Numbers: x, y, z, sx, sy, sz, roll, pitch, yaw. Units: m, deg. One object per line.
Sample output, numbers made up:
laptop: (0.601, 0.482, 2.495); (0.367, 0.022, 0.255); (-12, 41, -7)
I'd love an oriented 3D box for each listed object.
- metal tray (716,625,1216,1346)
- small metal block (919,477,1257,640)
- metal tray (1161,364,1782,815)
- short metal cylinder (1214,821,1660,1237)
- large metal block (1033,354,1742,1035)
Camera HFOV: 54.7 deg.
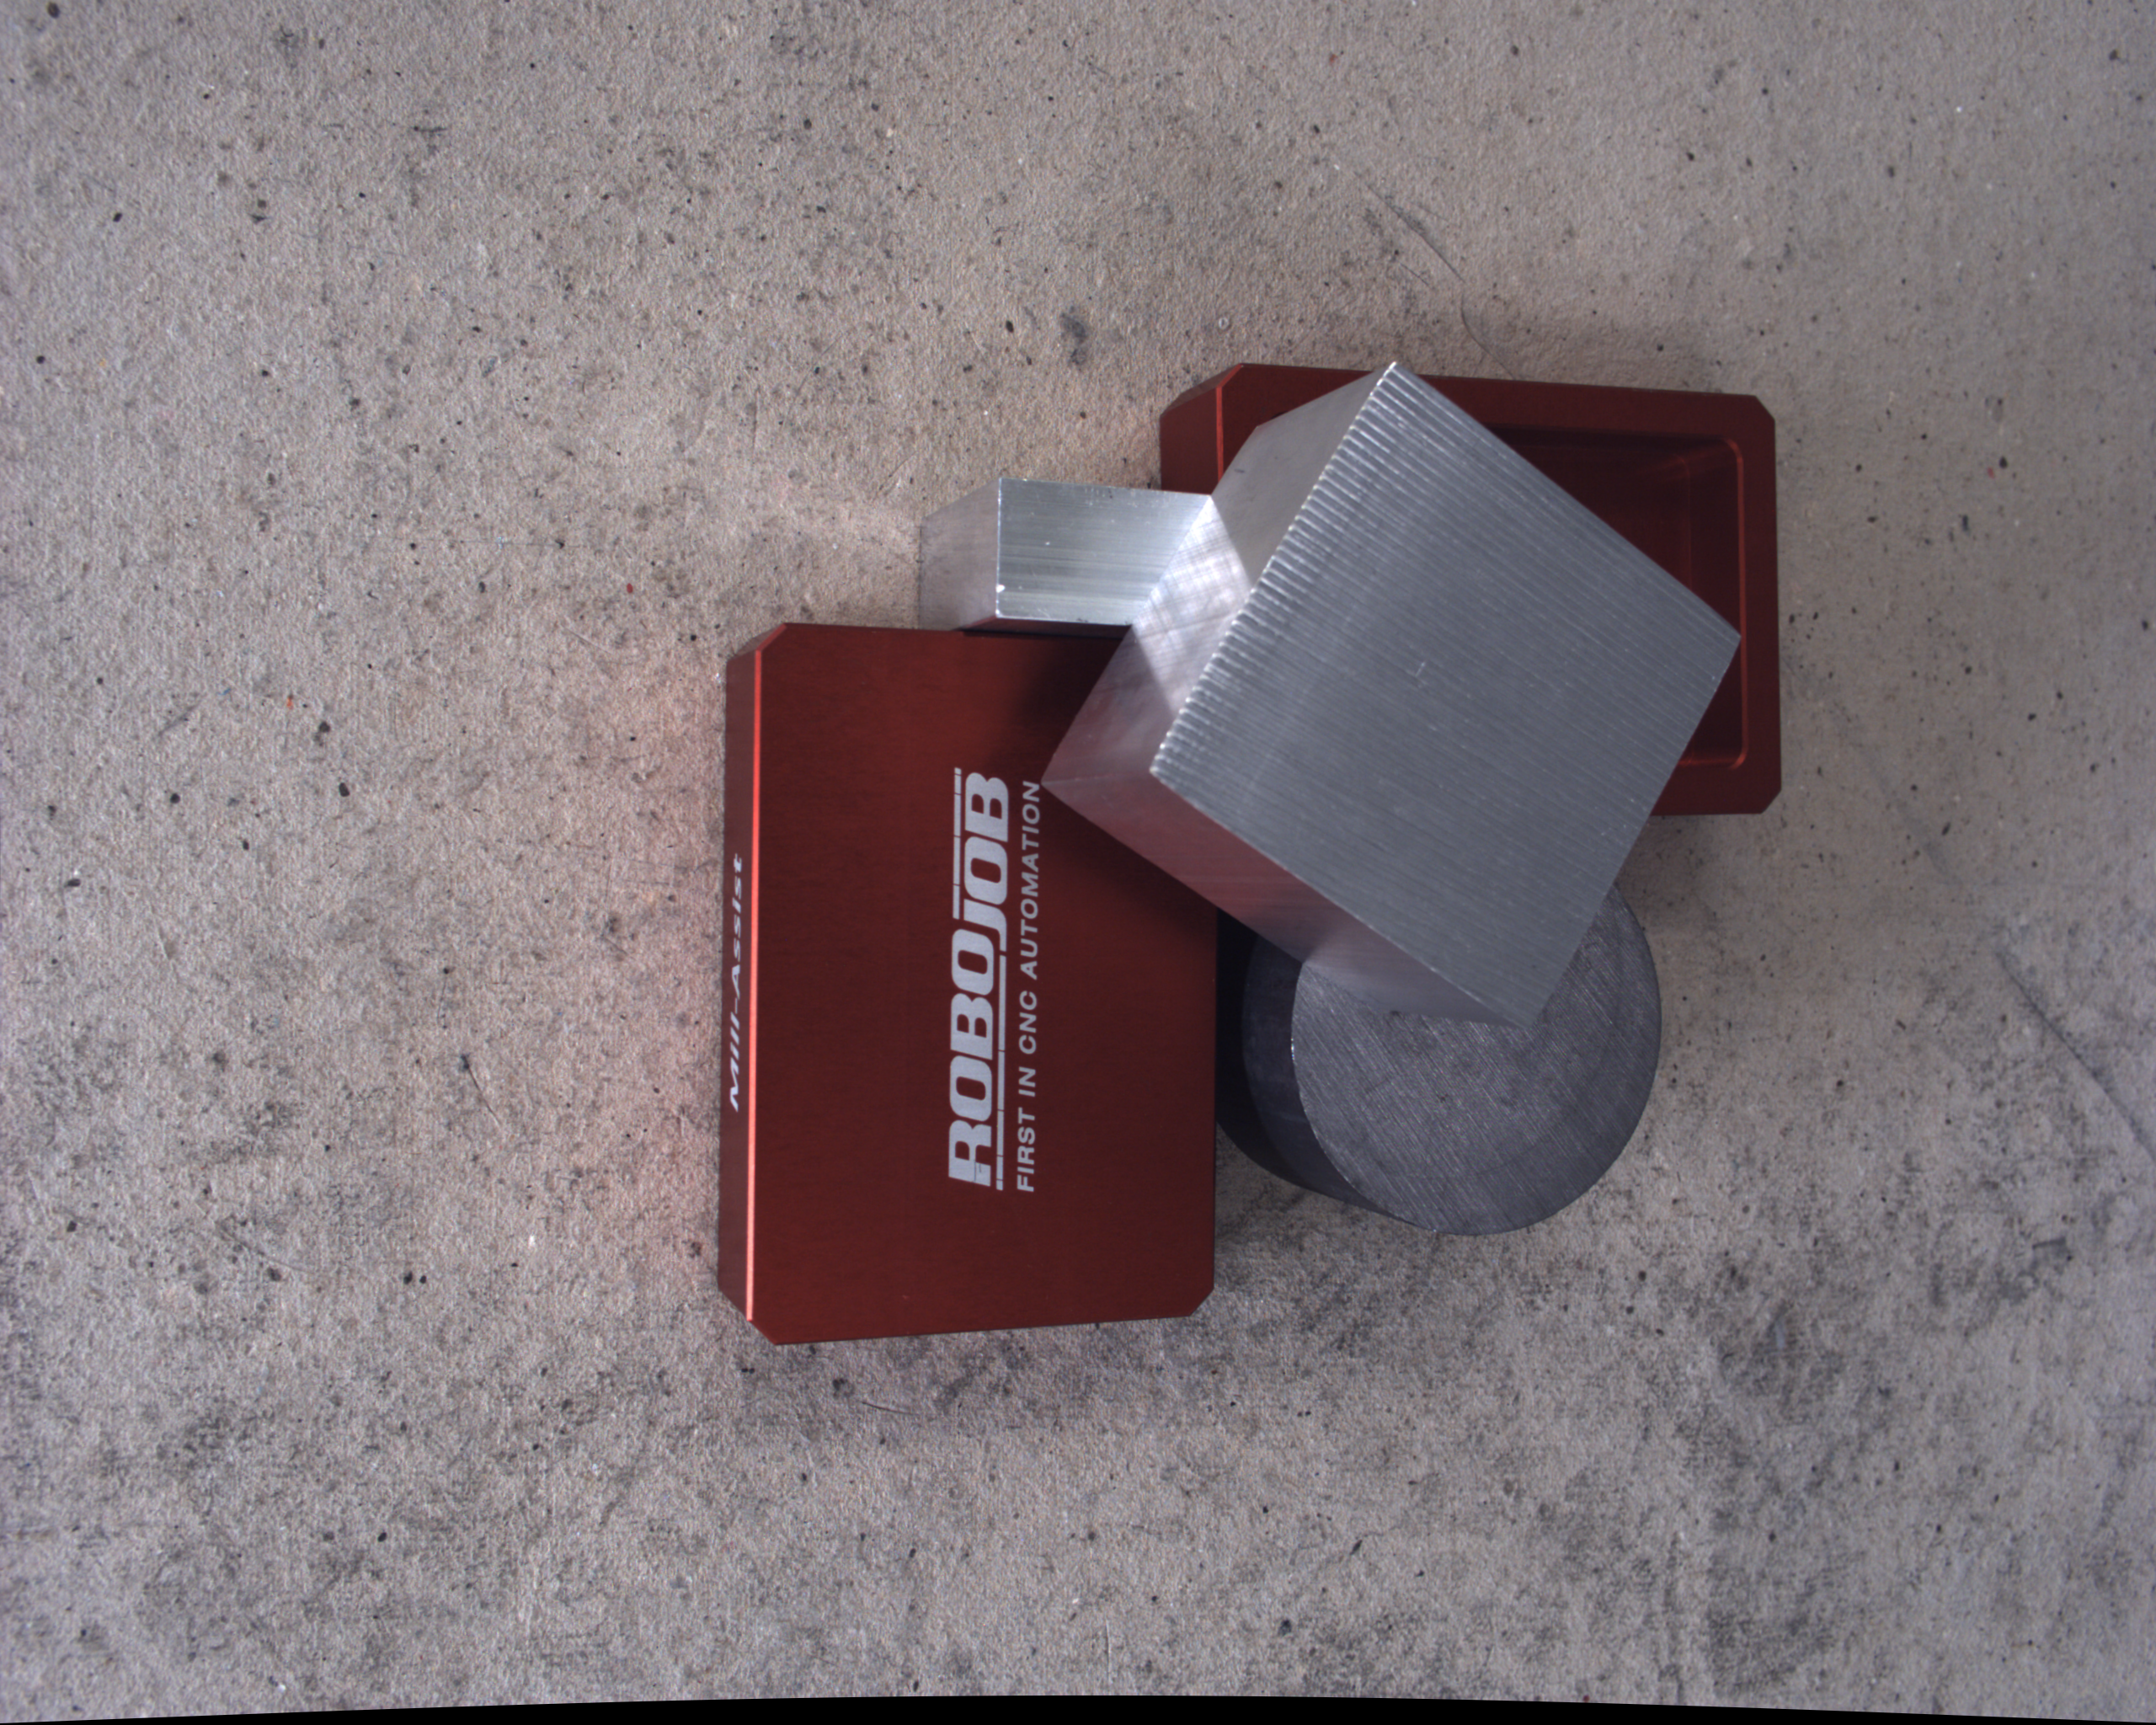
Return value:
metal tray: (-0.021, 0.022, 0.401); (0.091, 0.030, 0.129); (1, 90, -20)
small metal block: (0.001, -0.055, 0.397); (0.050, 0.050, 0.025); (1, 90, -20)
metal tray: (0.084, -0.054, 0.439); (0.131, 0.030, 0.089); (-2, 91, -20)
short metal cylinder: (0.069, 0.032, 0.422); (0.081, 0.050, 0.080); (0, 90, -20)
large metal block: (0.053, -0.027, 0.362); (0.080, 0.050, 0.080); (34, 79, -17)
